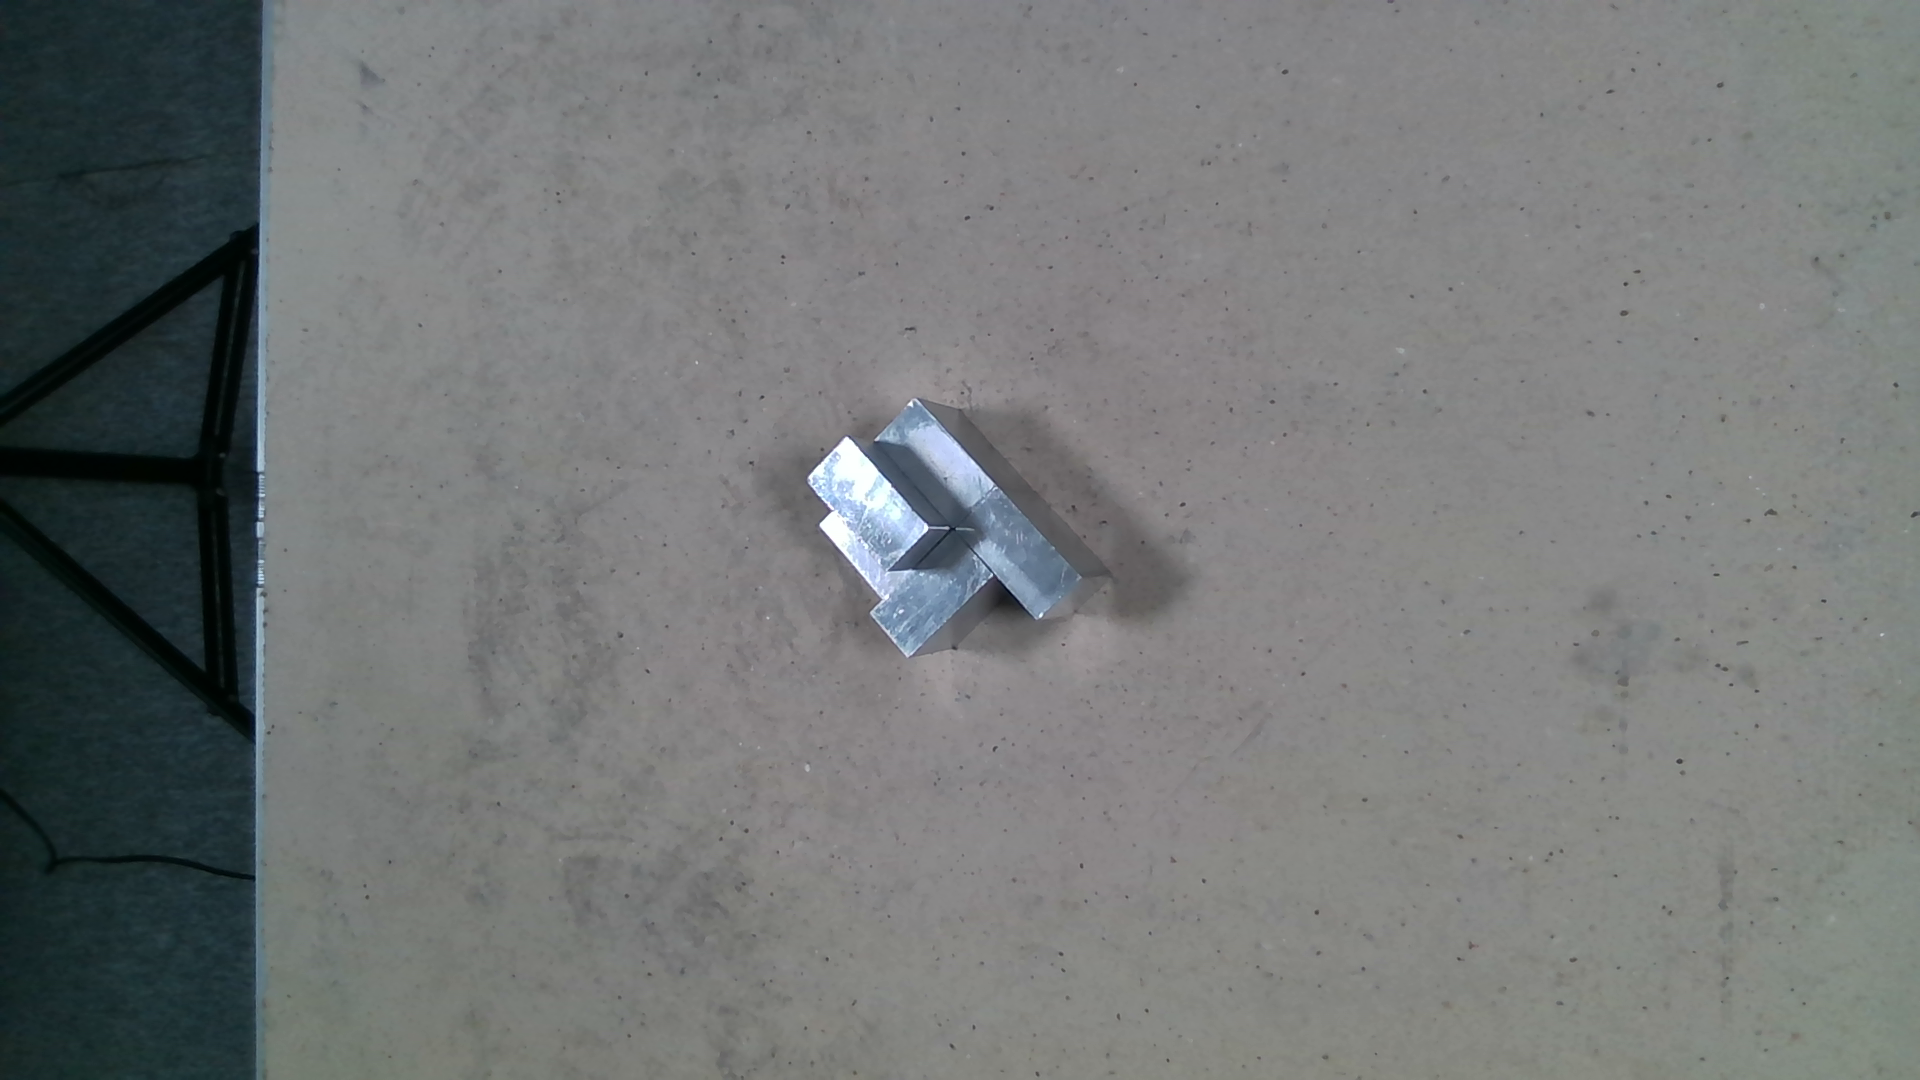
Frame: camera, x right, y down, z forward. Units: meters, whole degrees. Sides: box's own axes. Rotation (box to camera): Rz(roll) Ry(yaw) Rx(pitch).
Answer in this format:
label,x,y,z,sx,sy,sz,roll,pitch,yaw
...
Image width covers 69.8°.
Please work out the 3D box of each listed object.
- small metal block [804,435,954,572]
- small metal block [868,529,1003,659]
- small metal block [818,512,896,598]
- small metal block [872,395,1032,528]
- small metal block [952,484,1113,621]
label,x,y,z,sx,sy,sz,roll,pitch,yaw
small metal block,-0.028,-0.014,0.556,0.025,0.050,0.050,-46,76,15
small metal block,-0.004,0.022,0.574,0.050,0.050,0.025,-45,76,15
small metal block,-0.024,-0.005,0.595,0.050,0.025,0.050,-45,76,15
small metal block,-0.002,-0.031,0.573,0.025,0.050,0.050,-46,76,15
small metal block,0.030,0.005,0.561,0.025,0.050,0.050,-46,76,15
